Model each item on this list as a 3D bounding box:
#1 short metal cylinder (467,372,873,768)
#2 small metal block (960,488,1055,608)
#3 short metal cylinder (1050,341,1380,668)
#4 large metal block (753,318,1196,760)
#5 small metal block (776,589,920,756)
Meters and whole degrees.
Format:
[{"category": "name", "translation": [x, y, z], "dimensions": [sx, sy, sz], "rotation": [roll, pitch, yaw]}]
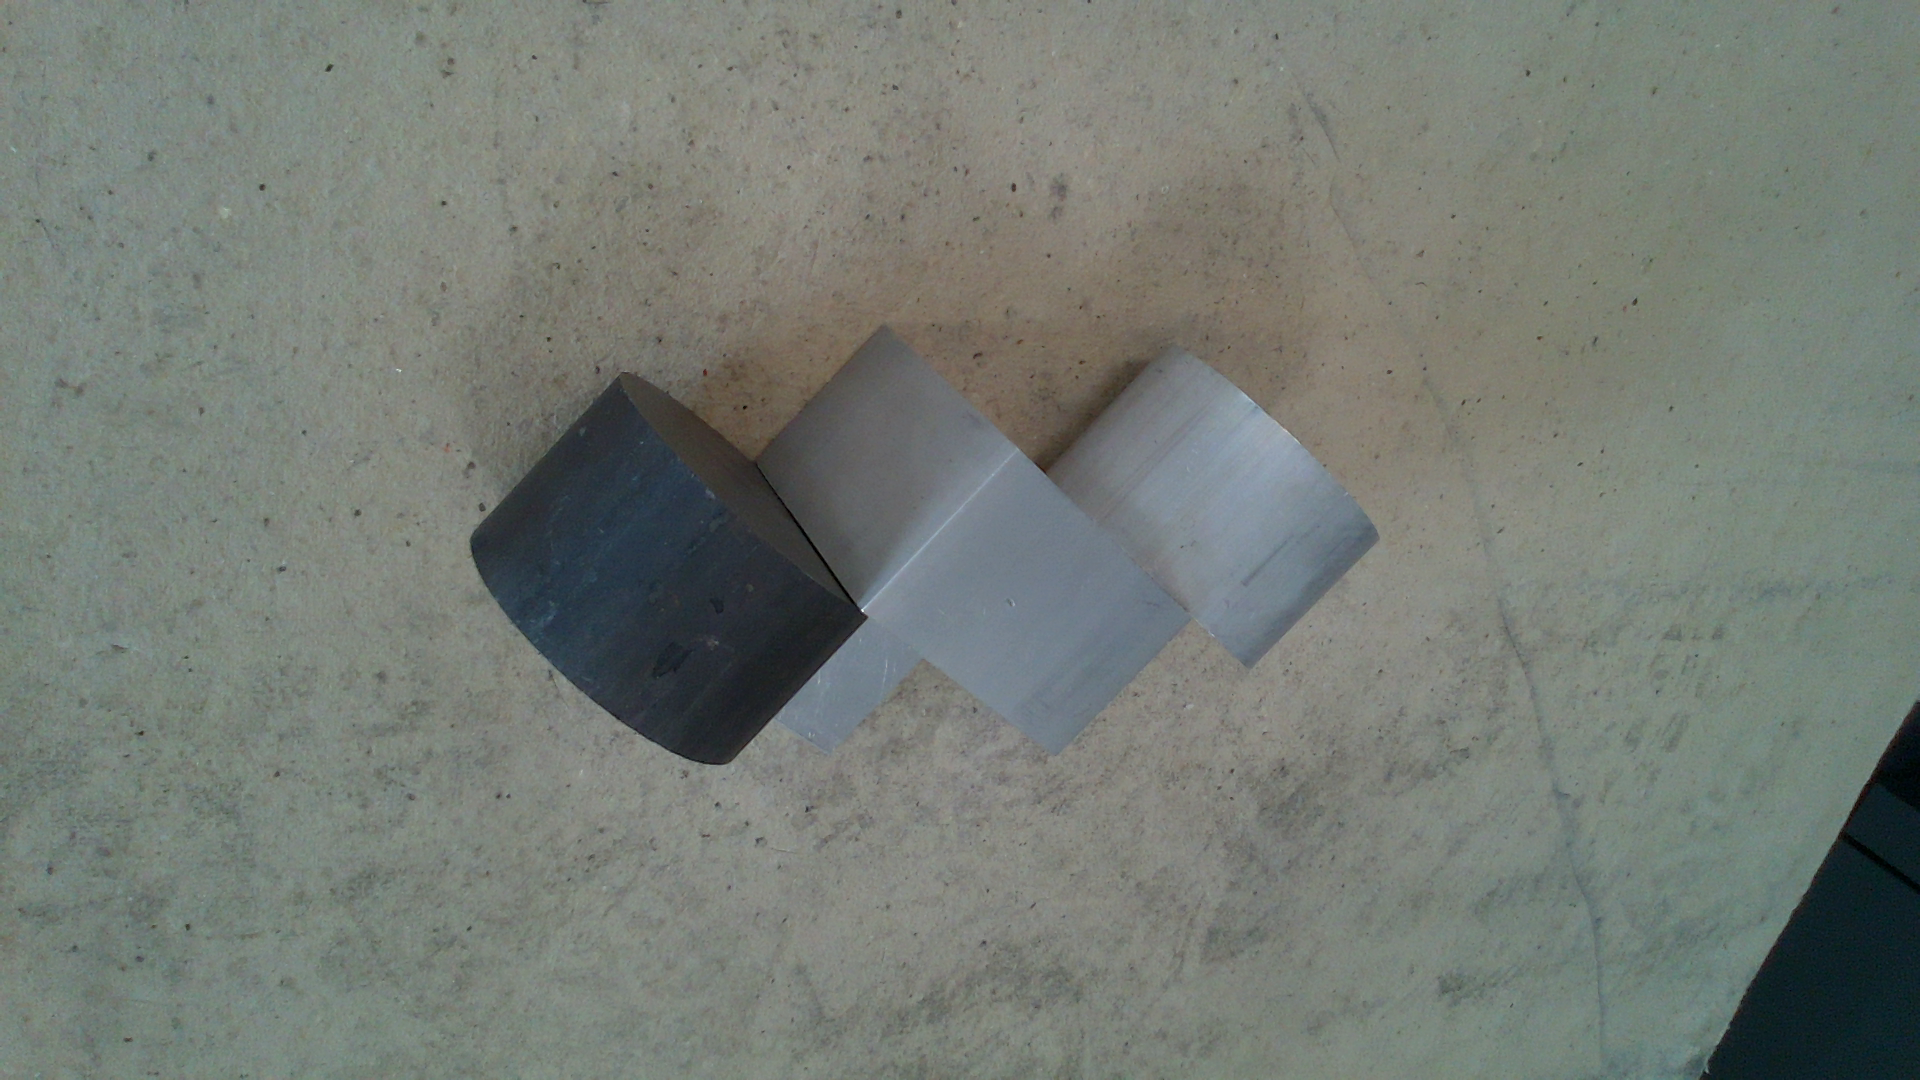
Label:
[{"category": "short metal cylinder", "translation": [-0.066, 0.007, 0.323], "dimensions": [0.050, 0.080, 0.080], "rotation": [-46, 129, 4]}, {"category": "small metal block", "translation": [0.030, 0.019, 0.417], "dimensions": [0.050, 0.025, 0.050], "rotation": [-46, 129, 4]}, {"category": "short metal cylinder", "translation": [0.070, -0.010, 0.386], "dimensions": [0.050, 0.080, 0.080], "rotation": [-46, 129, 4]}, {"category": "large metal block", "translation": [0.002, -0.001, 0.355], "dimensions": [0.050, 0.080, 0.080], "rotation": [-46, 129, 4]}, {"category": "small metal block", "translation": [-0.041, 0.025, 0.383], "dimensions": [0.050, 0.025, 0.050], "rotation": [-46, 129, 4]}]
